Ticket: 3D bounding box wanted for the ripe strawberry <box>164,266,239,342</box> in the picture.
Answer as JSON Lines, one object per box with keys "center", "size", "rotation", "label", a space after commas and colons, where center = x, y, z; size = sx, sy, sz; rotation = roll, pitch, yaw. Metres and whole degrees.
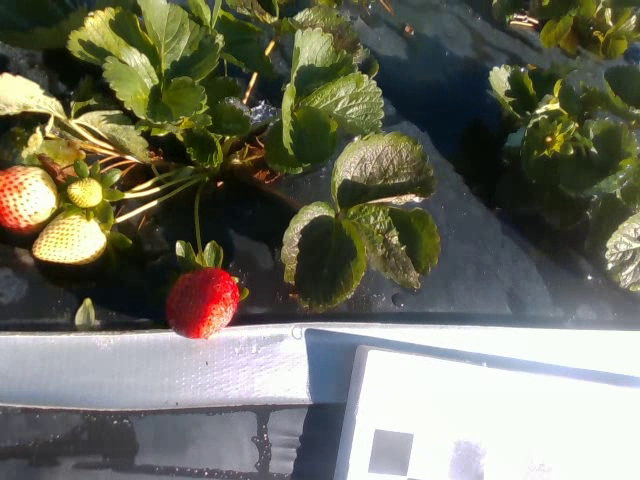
{"center": [-0.050, 0.030, 0.256], "size": [0.036, 0.038, 0.046], "rotation": [9, 12, -12], "label": "ripe strawberry"}
